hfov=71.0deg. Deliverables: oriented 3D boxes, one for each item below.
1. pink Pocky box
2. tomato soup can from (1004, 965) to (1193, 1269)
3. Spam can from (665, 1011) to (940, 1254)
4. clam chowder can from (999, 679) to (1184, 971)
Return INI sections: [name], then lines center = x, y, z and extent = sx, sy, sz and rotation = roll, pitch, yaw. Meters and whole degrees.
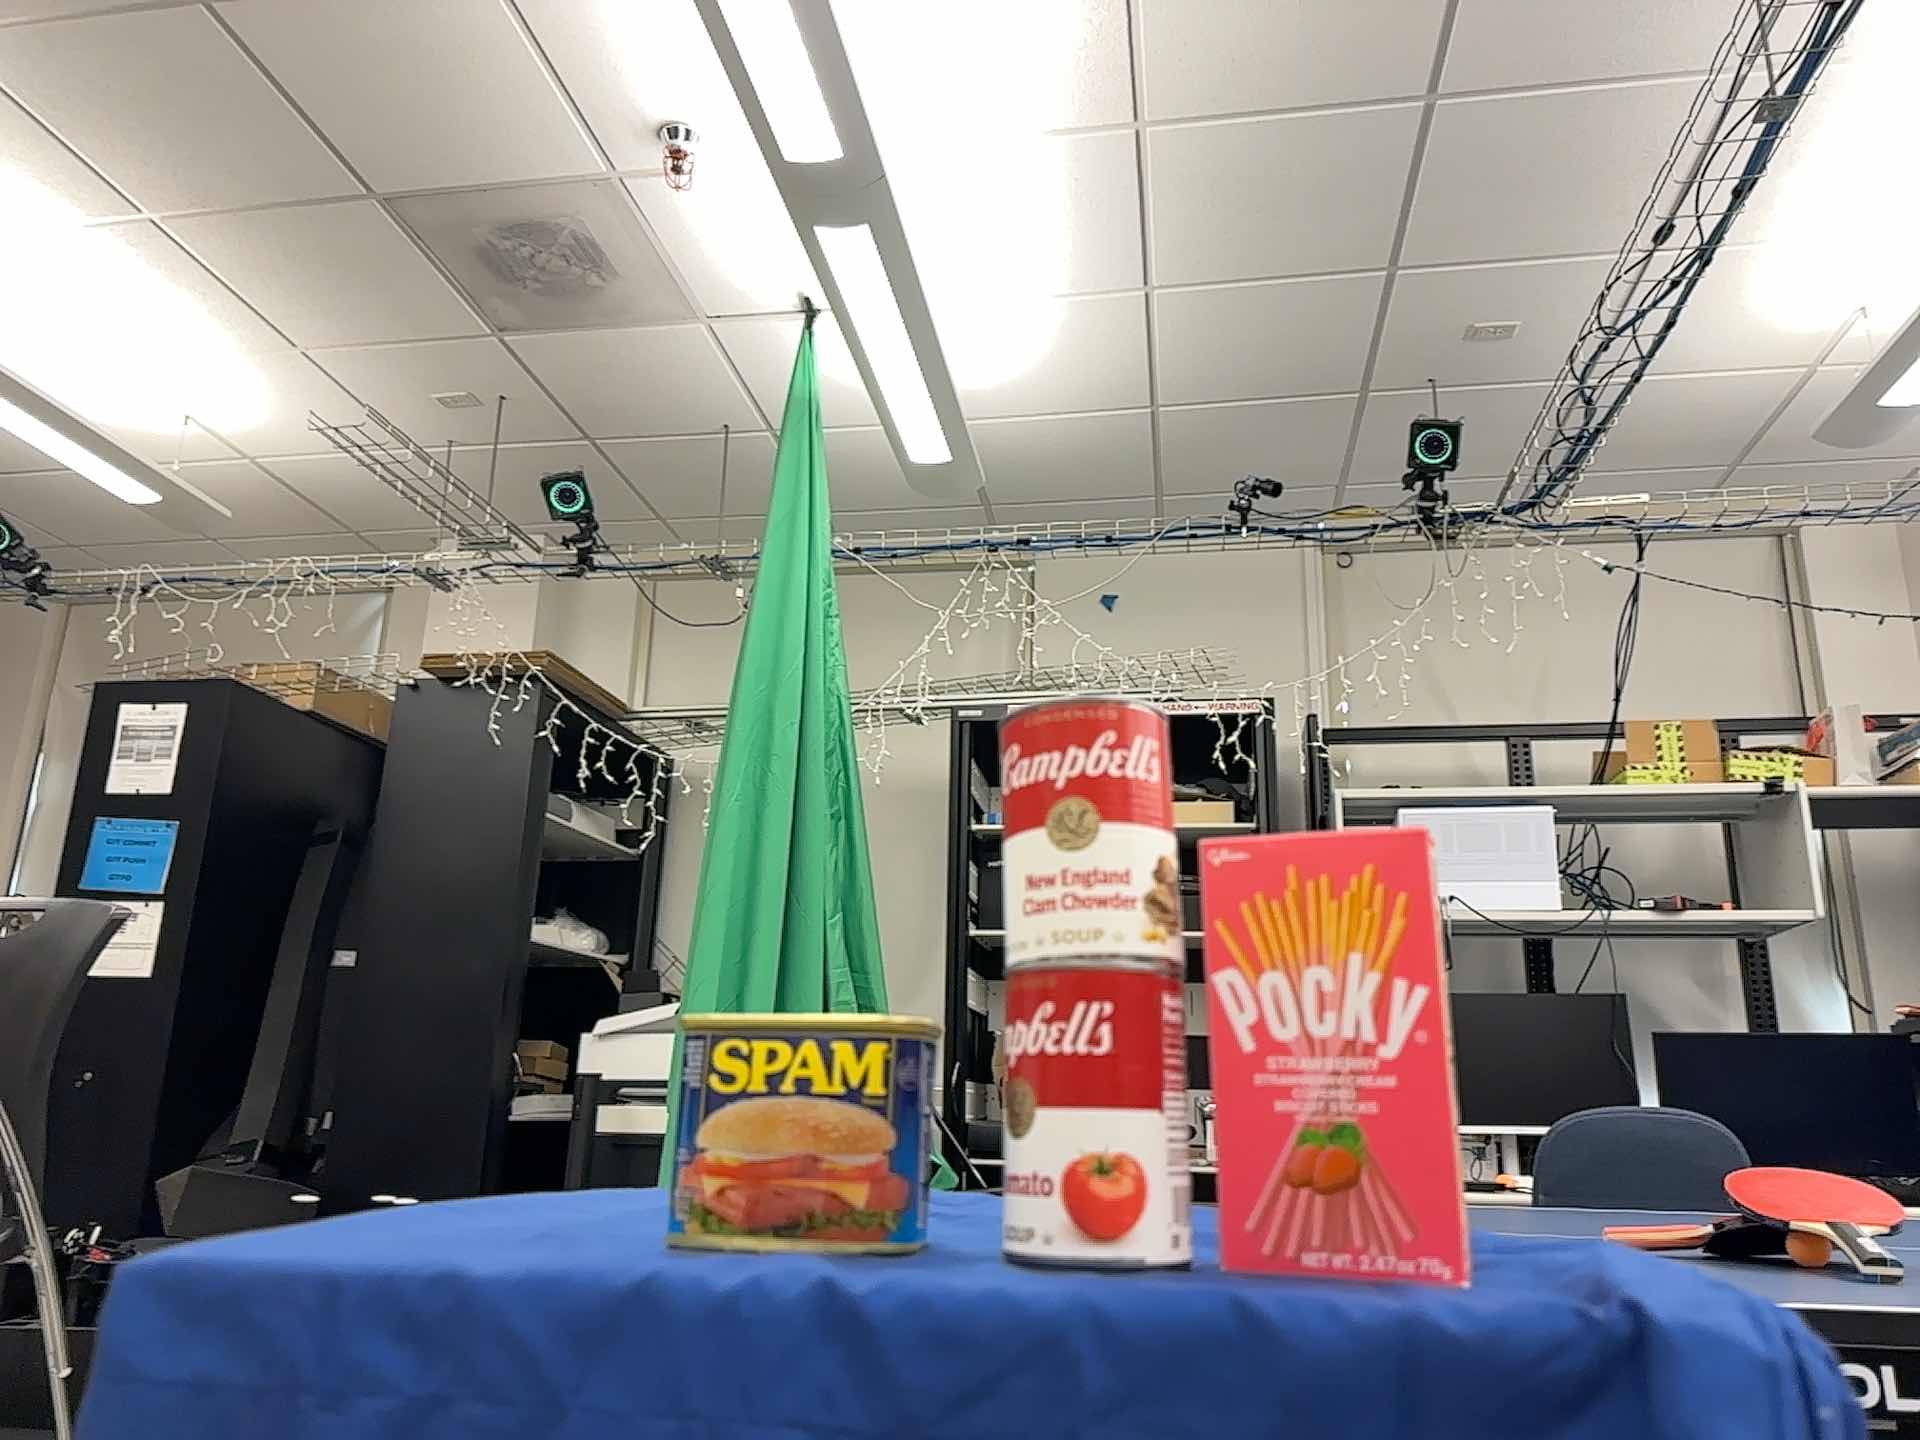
[pink Pocky box]
center = 0.126, 0.114, 0.467
extent = 0.084, 0.154, 0.029
rotation = -6, -14, 21
[tomato soup can]
center = 0.050, 0.144, 0.494
extent = 0.067, 0.102, 0.067
rotation = 1, -16, 0
[Spam can]
center = -0.061, 0.158, 0.523
extent = 0.100, 0.083, 0.056
rotation = 0, -15, 9
[clam chowder can]
center = 0.049, 0.043, 0.515
extent = 0.068, 0.102, 0.068
rotation = 0, -19, 0
